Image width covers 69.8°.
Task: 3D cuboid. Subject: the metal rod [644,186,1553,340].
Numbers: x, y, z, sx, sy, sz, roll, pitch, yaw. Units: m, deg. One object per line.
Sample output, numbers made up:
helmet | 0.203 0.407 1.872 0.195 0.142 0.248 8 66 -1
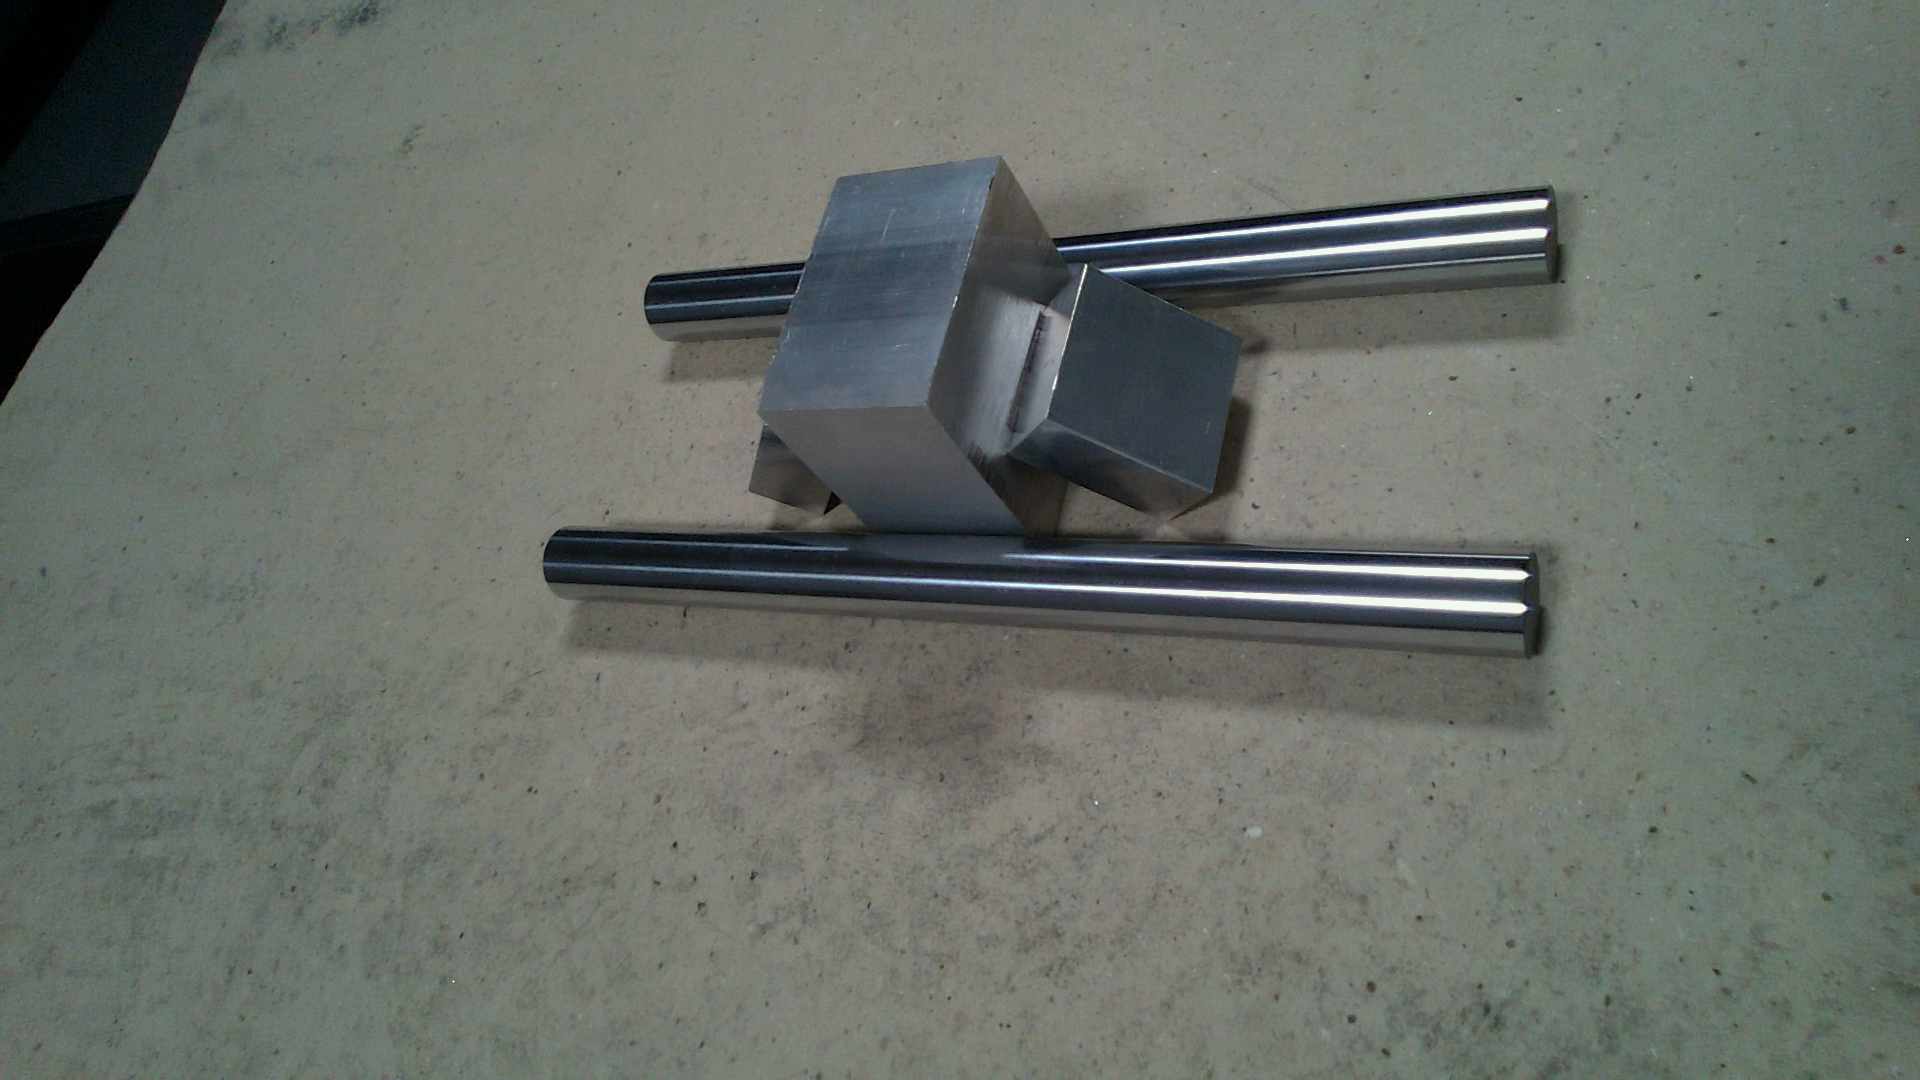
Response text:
metal rod | 0.023 -0.083 0.432 0.299 0.025 0.025 1 62 29

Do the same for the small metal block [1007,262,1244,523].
small metal block | 0.046 -0.040 0.376 0.025 0.050 0.050 -40 31 61

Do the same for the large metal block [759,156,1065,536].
large metal block | -0.004 -0.048 0.393 0.050 0.080 0.080 1 62 29

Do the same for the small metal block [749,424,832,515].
small metal block | -0.044 -0.043 0.426 0.025 0.050 0.050 18 66 -6

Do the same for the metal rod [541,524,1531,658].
metal rod | 0.000 0.011 0.388 0.299 0.025 0.025 2 62 29
